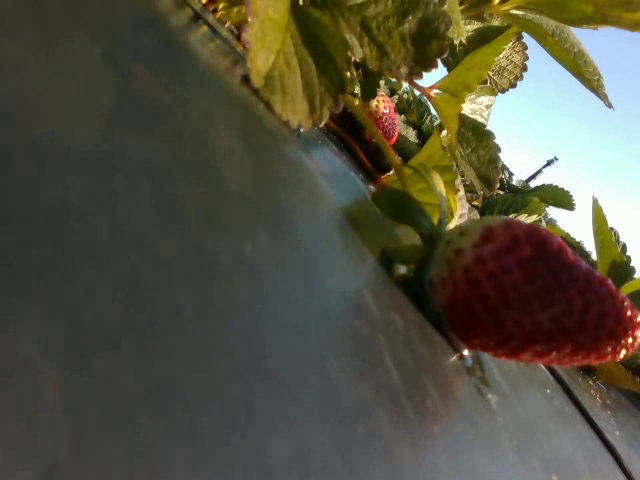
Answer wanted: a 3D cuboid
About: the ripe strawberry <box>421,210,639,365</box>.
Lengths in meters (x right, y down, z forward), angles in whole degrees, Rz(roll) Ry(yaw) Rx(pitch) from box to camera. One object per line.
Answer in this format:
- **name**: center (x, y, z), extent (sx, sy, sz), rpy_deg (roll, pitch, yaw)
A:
- **ripe strawberry**: center (0.037, 0.011, 0.103), extent (0.041, 0.031, 0.028), rpy_deg (20, 16, 37)
